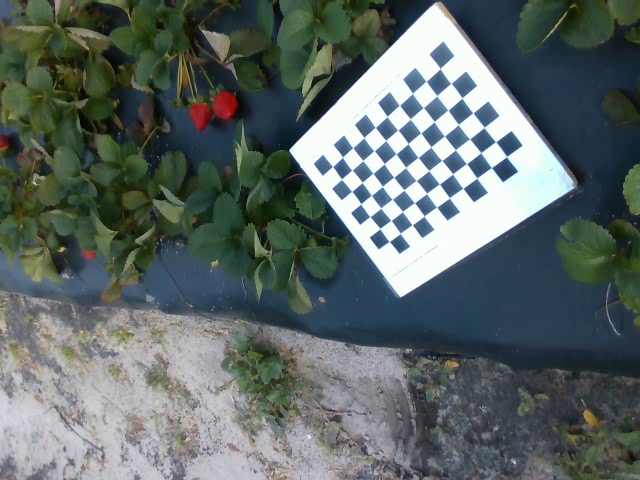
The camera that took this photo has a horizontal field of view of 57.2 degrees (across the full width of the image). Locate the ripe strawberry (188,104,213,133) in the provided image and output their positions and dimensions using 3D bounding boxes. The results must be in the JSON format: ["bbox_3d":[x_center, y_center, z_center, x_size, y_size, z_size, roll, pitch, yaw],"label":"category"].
[{"bbox_3d":[-0.225,-0.229,1.090,0.048,0.056,0.041,-21,-18,34],"label":"ripe strawberry"}]

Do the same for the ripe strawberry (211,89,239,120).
[{"bbox_3d":[-0.176,-0.237,1.052,0.051,0.058,0.064,6,37,-35],"label":"ripe strawberry"}]
